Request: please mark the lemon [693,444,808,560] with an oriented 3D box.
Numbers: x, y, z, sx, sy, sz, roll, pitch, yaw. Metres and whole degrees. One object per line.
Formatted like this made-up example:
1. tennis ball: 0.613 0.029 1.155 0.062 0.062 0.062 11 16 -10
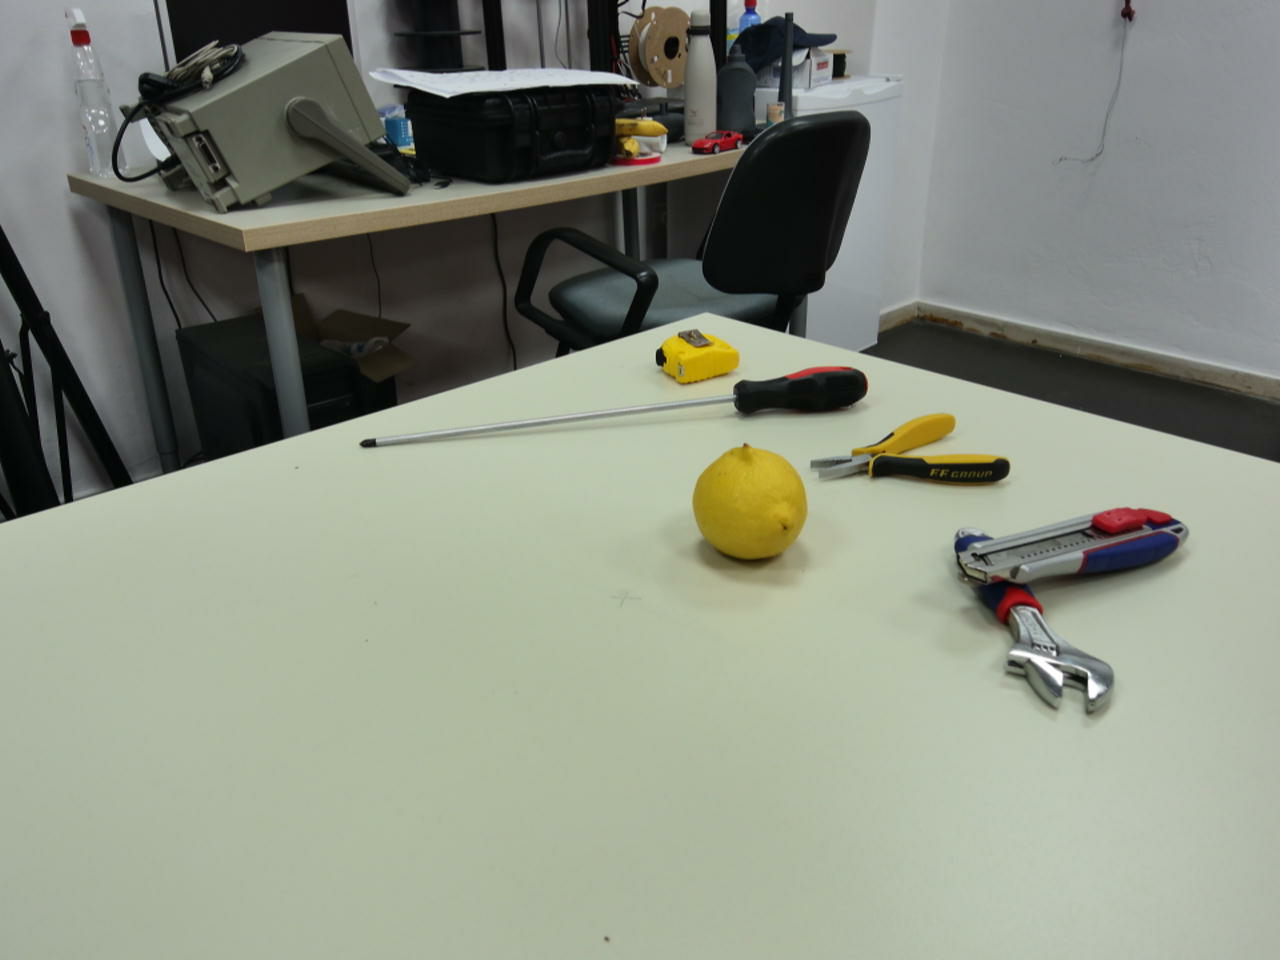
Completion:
1. lemon: 0.067 0.011 0.609 0.070 0.071 0.071 5 25 12
